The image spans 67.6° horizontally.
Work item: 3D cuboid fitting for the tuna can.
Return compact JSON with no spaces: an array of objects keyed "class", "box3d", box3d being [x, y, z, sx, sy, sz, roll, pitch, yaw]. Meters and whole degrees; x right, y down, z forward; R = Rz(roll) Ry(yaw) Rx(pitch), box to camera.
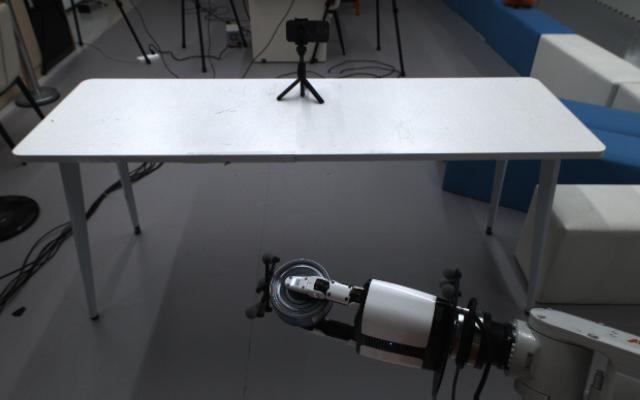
[{"class":"tuna can","box3d":[-0.021,0.127,0.645,0.085,0.034,0.085,-2,58,3]}]
